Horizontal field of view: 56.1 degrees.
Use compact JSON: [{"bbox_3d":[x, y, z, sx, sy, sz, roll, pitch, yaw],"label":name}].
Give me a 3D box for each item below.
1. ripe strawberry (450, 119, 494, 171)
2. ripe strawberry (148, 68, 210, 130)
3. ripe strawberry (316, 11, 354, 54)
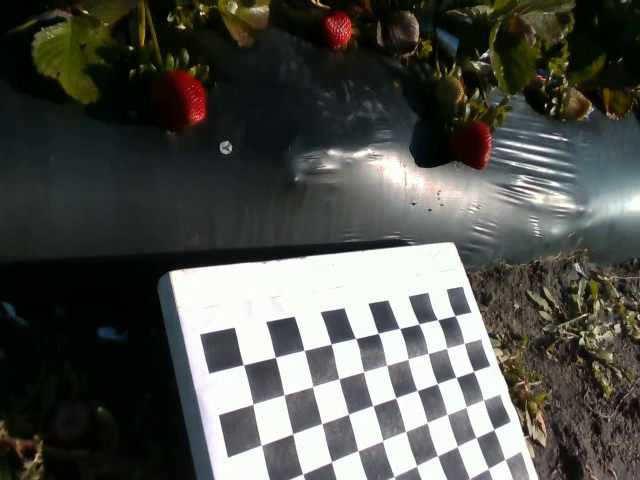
[{"bbox_3d":[0.136,-0.080,0.534,0.042,0.059,0.042,23,-45,-34],"label":"ripe strawberry"},{"bbox_3d":[-0.092,-0.090,0.397,0.045,0.042,0.055,8,33,-41],"label":"ripe strawberry"},{"bbox_3d":[0.012,-0.188,0.522,0.035,0.035,0.046,-28,-18,38],"label":"ripe strawberry"}]
